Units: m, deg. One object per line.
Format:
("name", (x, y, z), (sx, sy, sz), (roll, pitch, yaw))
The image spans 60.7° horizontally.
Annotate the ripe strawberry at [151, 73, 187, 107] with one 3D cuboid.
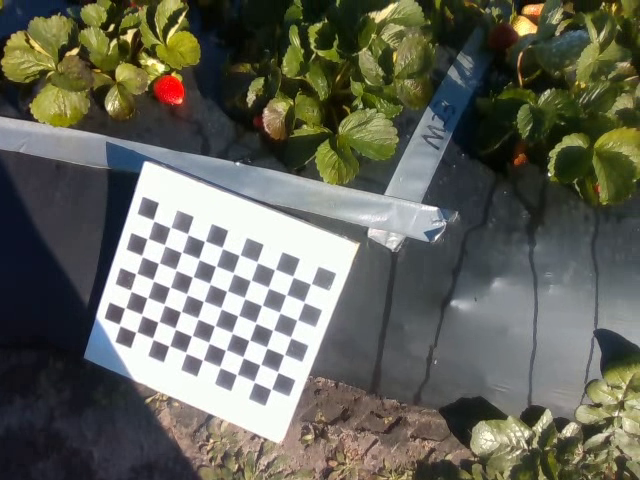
("ripe strawberry", (-0.206, -0.204, 0.755), (0.045, 0.059, 0.042), (-42, -20, 12))
